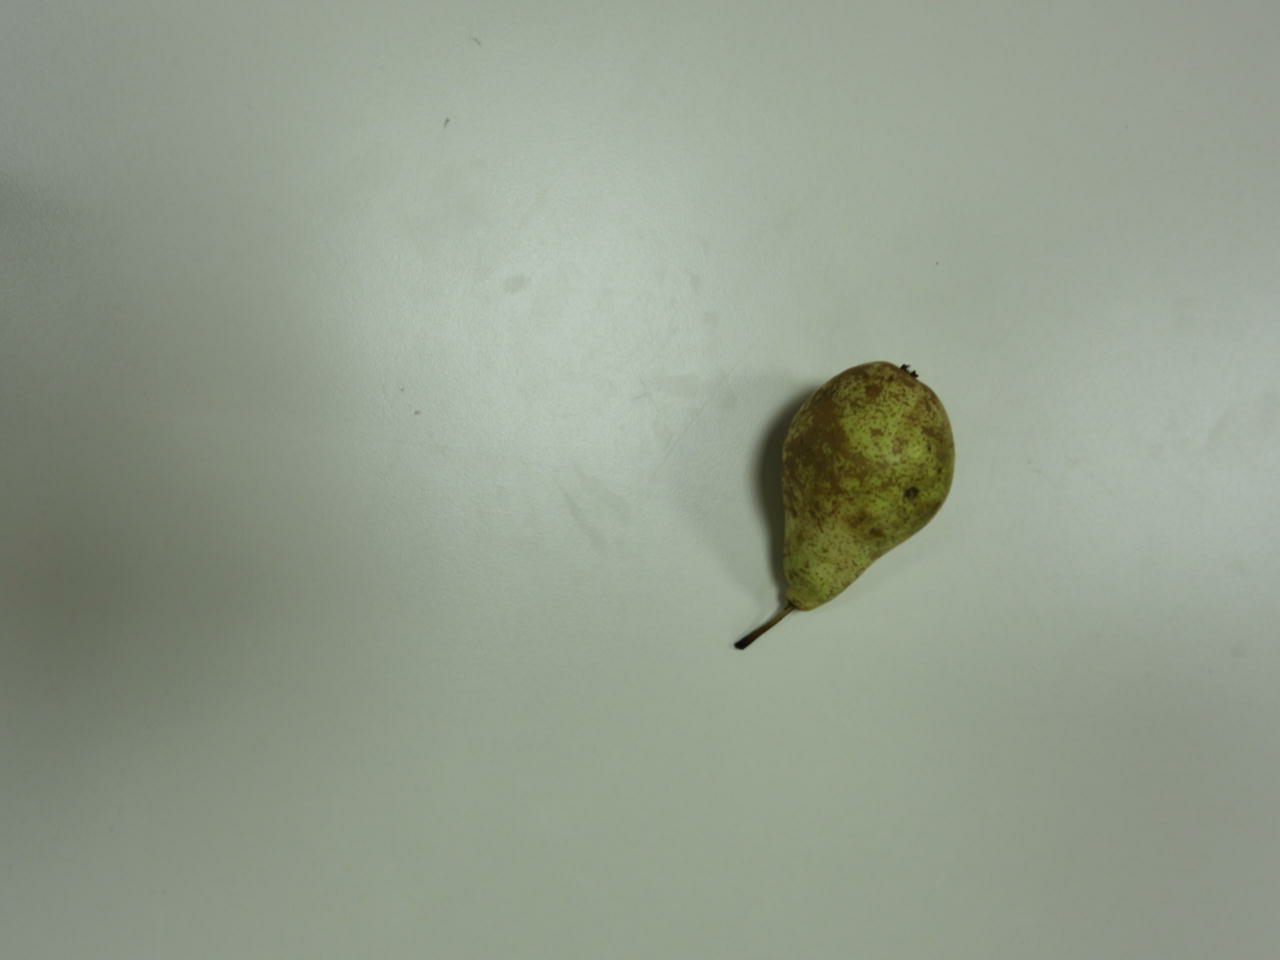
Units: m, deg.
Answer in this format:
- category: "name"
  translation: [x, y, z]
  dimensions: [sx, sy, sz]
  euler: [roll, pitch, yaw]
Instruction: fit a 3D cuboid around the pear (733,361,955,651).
- category: "pear"
  translation: [0.094, 0.014, 0.426]
  dimensions: [0.071, 0.075, 0.128]
  euler: [4, 90, -12]
